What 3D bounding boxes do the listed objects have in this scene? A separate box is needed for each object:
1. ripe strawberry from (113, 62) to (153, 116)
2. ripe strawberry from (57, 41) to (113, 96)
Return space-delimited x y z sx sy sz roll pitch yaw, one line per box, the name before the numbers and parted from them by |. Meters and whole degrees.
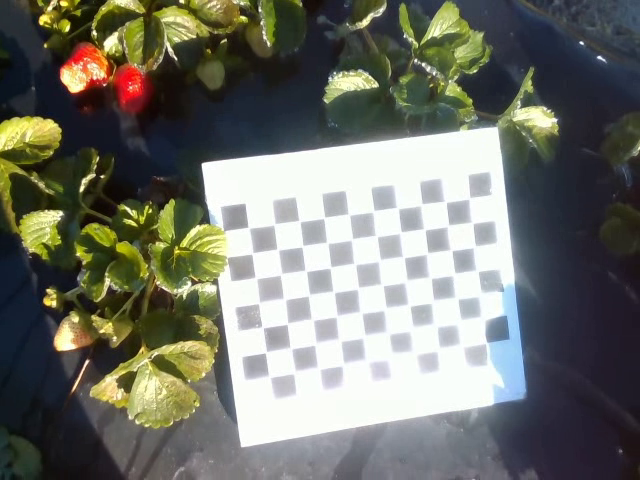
ripe strawberry | -0.212 -0.172 0.685 0.043 0.059 0.040 -8 -2 -5
ripe strawberry | -0.264 -0.188 0.689 0.052 0.070 0.040 39 -9 -13
